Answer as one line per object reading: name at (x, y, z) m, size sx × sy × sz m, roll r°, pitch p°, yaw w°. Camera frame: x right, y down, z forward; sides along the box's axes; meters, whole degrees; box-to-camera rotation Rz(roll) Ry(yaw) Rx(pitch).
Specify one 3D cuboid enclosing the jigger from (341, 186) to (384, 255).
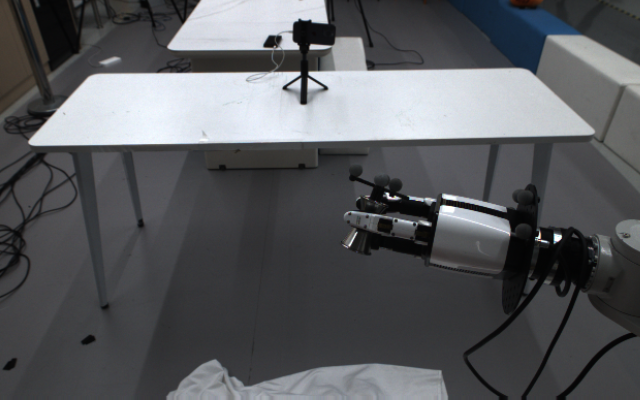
jigger at (0.056, 0.030, 0.619) m, size 0.043 × 0.071 × 0.043 m, roll 22°, pitch 6°, yaw -2°
